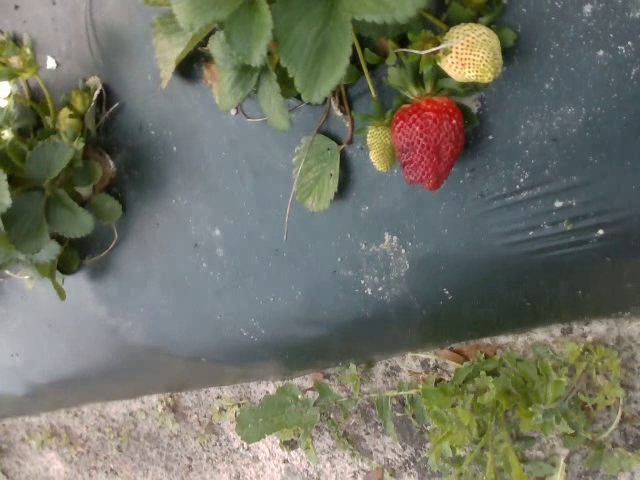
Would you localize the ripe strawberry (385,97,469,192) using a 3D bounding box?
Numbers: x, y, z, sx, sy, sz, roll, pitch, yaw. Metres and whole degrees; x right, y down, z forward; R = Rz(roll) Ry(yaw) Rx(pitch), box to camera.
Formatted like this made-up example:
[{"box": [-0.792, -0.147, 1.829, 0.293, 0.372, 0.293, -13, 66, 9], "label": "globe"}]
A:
[{"box": [0.063, -0.052, 0.339, 0.045, 0.059, 0.046, 13, -20, -42], "label": "ripe strawberry"}]
